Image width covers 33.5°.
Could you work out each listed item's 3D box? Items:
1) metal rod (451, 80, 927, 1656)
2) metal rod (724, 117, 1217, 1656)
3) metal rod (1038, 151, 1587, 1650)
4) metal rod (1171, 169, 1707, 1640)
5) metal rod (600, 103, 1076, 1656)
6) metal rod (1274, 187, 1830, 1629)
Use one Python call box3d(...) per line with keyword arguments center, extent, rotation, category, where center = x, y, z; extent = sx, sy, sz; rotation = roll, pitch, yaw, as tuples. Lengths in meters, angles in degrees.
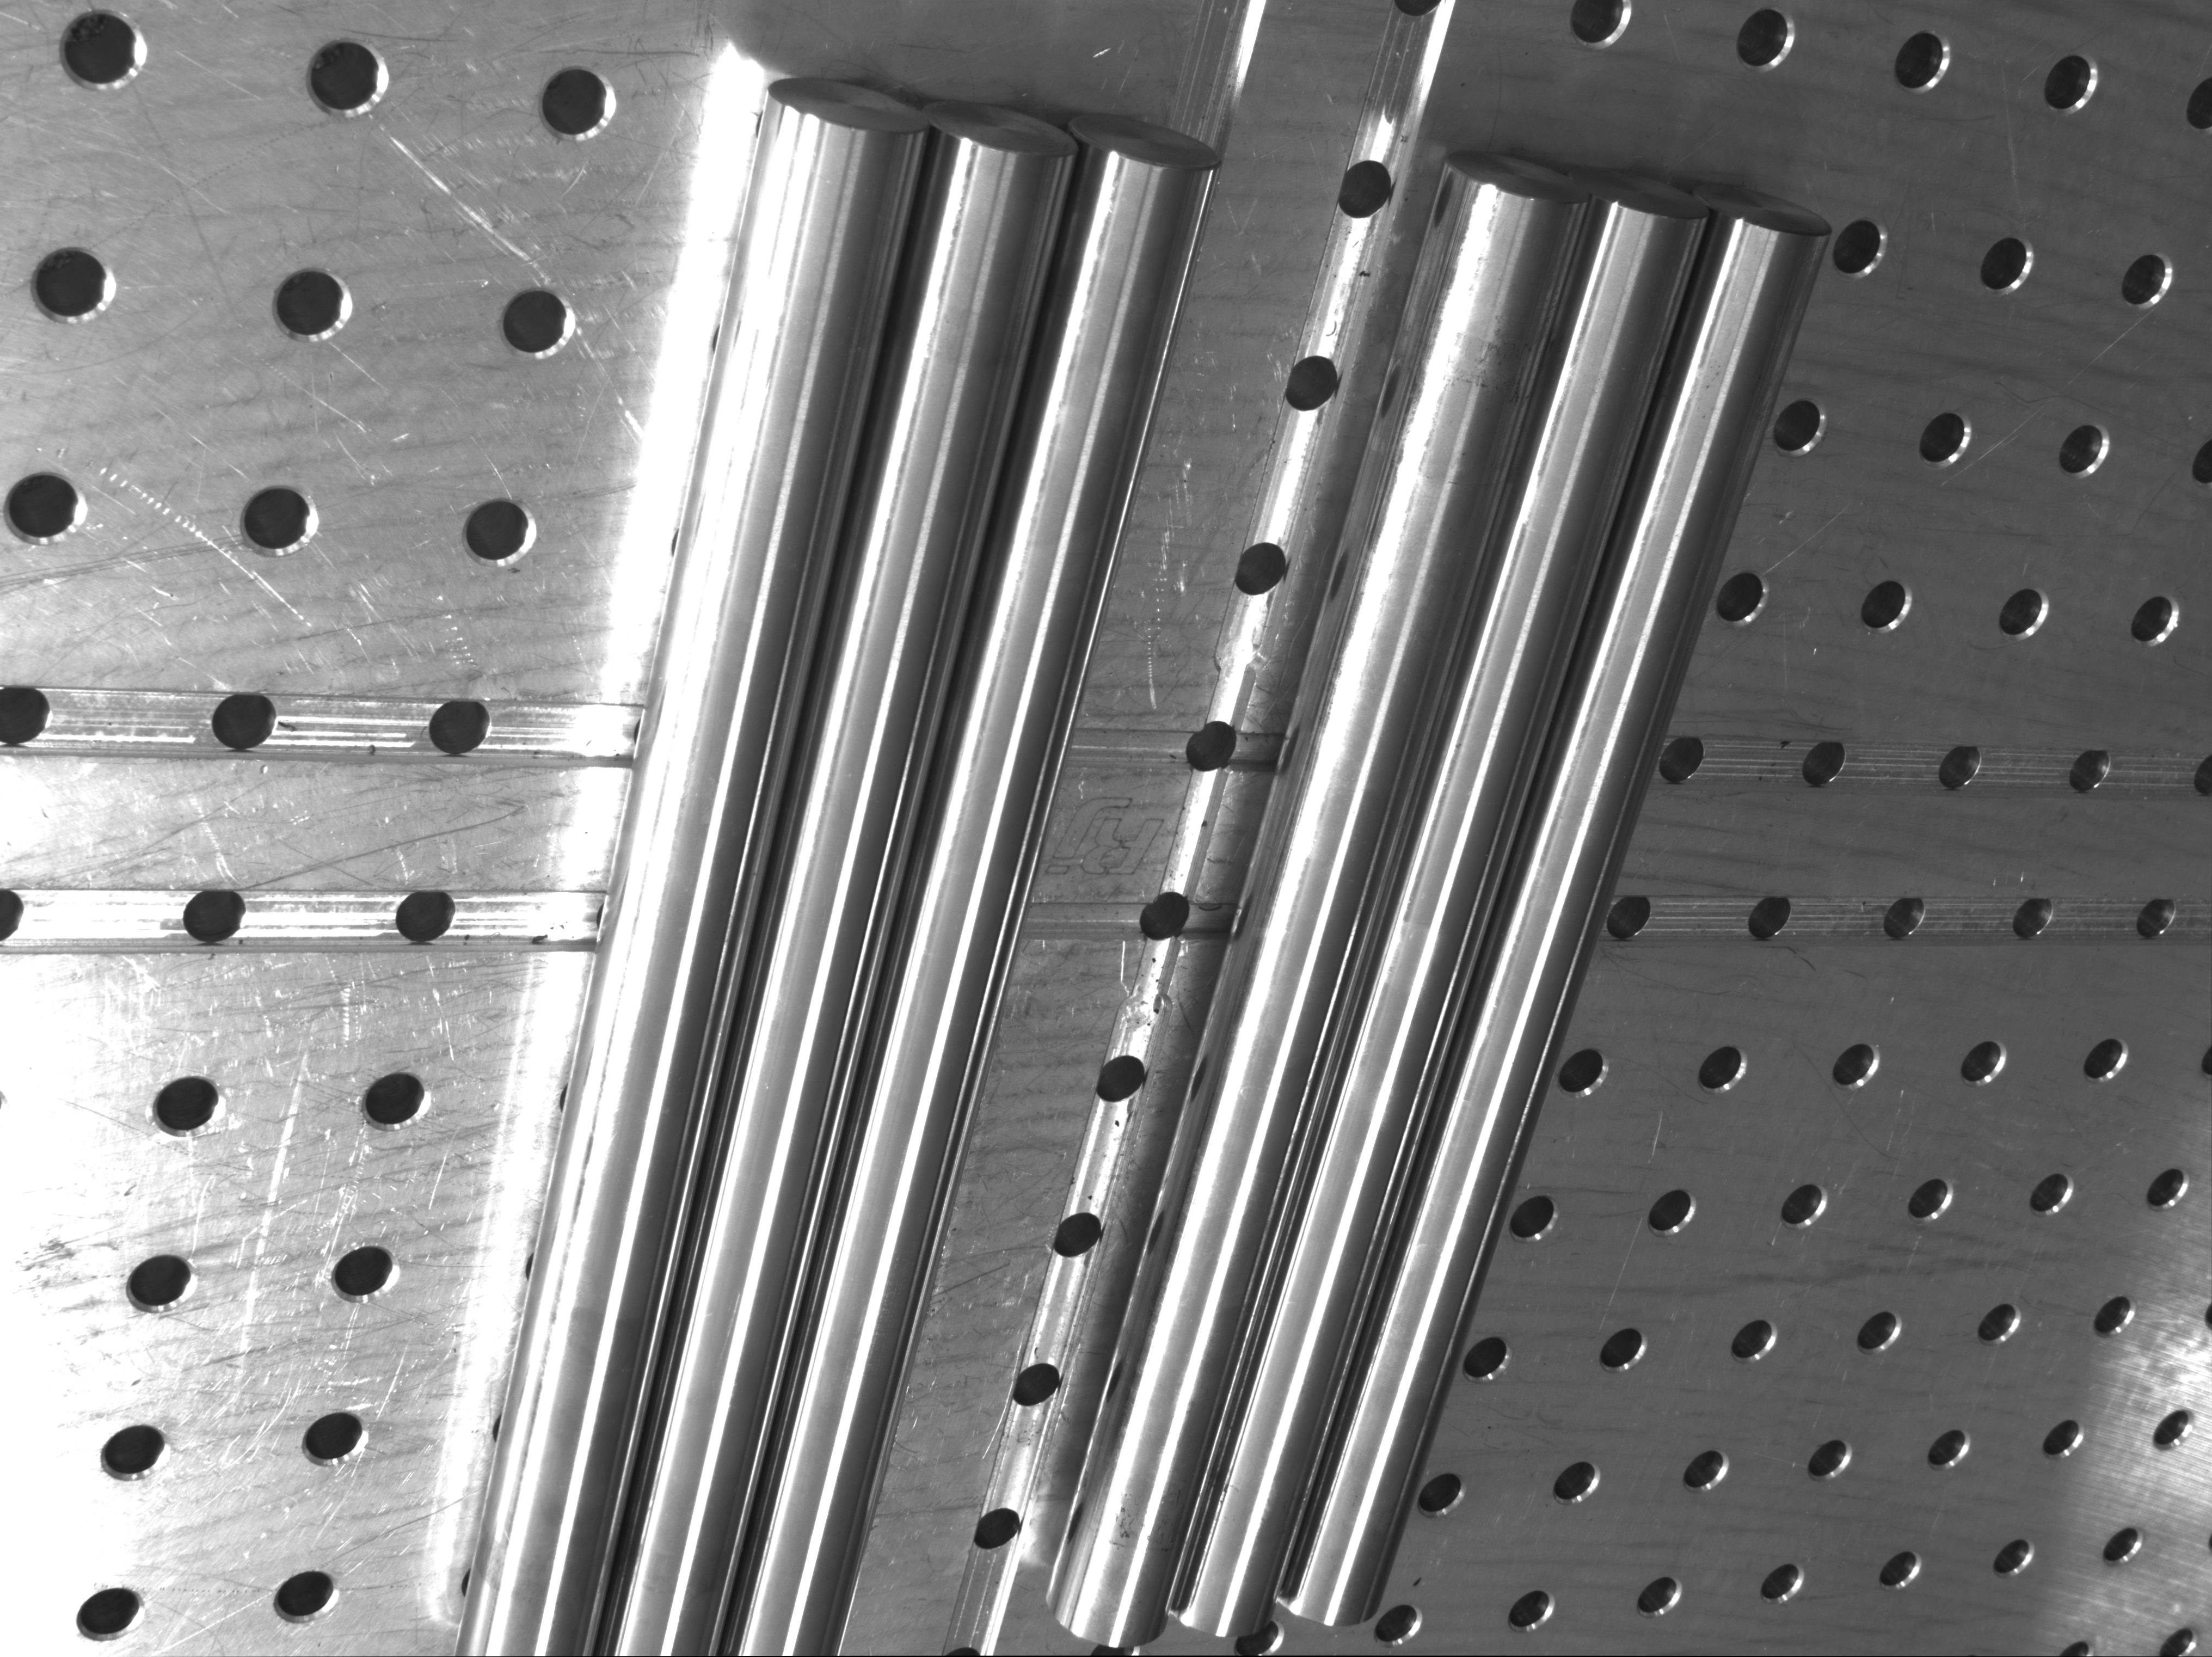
box3d(center=(-0.074, 0.024, 0.615), extent=(0.025, 0.025, 0.300), rotation=(1, 118, -28), category="metal rod")
box3d(center=(-0.029, 0.025, 0.639), extent=(0.025, 0.025, 0.300), rotation=(1, 118, -28), category="metal rod")
box3d(center=(0.033, 0.024, 0.672), extent=(0.025, 0.025, 0.300), rotation=(1, 118, -28), category="metal rod")
box3d(center=(0.055, 0.025, 0.685), extent=(0.025, 0.025, 0.300), rotation=(1, 118, -28), category="metal rod")
box3d(center=(-0.051, 0.025, 0.627), extent=(0.025, 0.025, 0.300), rotation=(1, 118, -28), category="metal rod")
box3d(center=(0.079, 0.025, 0.697), extent=(0.025, 0.025, 0.300), rotation=(1, 118, -28), category="metal rod")
